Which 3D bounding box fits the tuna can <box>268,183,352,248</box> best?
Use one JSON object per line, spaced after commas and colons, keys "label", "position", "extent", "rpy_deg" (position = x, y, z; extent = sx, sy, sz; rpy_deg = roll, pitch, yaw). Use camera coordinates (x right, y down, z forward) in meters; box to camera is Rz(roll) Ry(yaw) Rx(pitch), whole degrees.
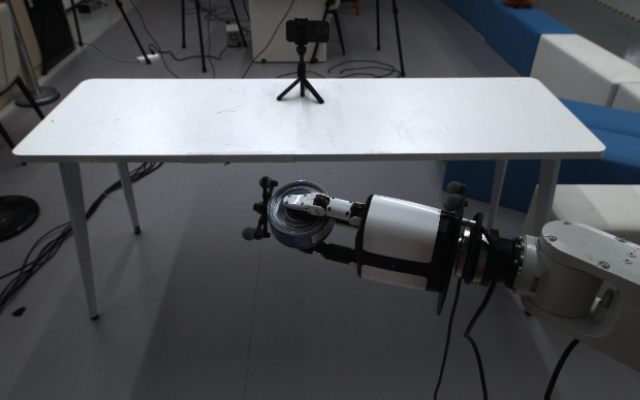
{"label": "tuna can", "position": [-0.021, 0.021, 0.620], "extent": [0.085, 0.034, 0.085], "rpy_deg": [-2, 58, 3]}
